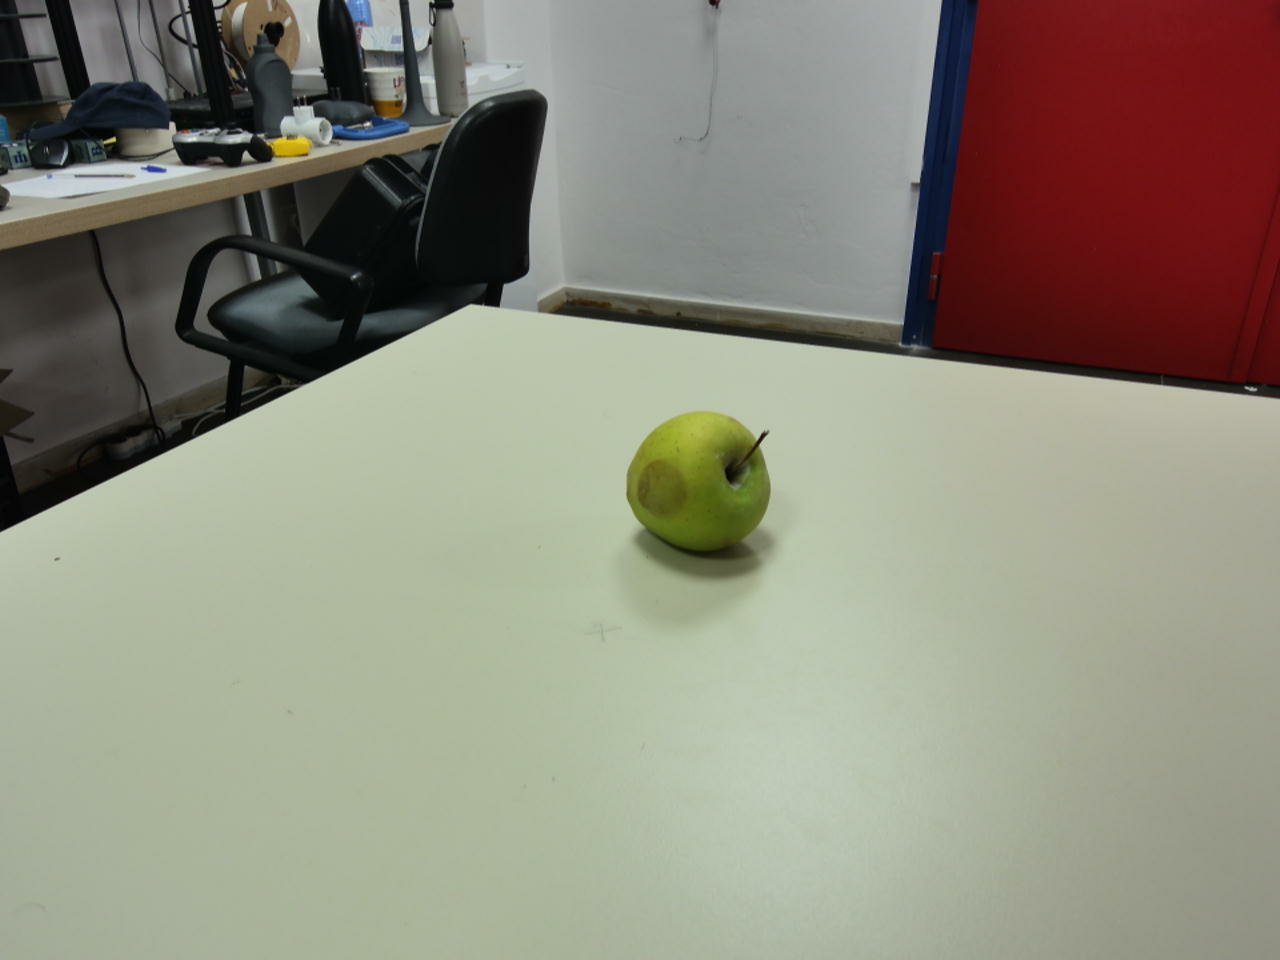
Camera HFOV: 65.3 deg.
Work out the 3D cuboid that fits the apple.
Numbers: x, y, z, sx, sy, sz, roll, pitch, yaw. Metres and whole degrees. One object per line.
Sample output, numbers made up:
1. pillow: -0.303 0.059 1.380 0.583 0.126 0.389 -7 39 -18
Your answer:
1. apple: 0.032 -0.001 0.538 0.072 0.075 0.077 -10 26 -19
